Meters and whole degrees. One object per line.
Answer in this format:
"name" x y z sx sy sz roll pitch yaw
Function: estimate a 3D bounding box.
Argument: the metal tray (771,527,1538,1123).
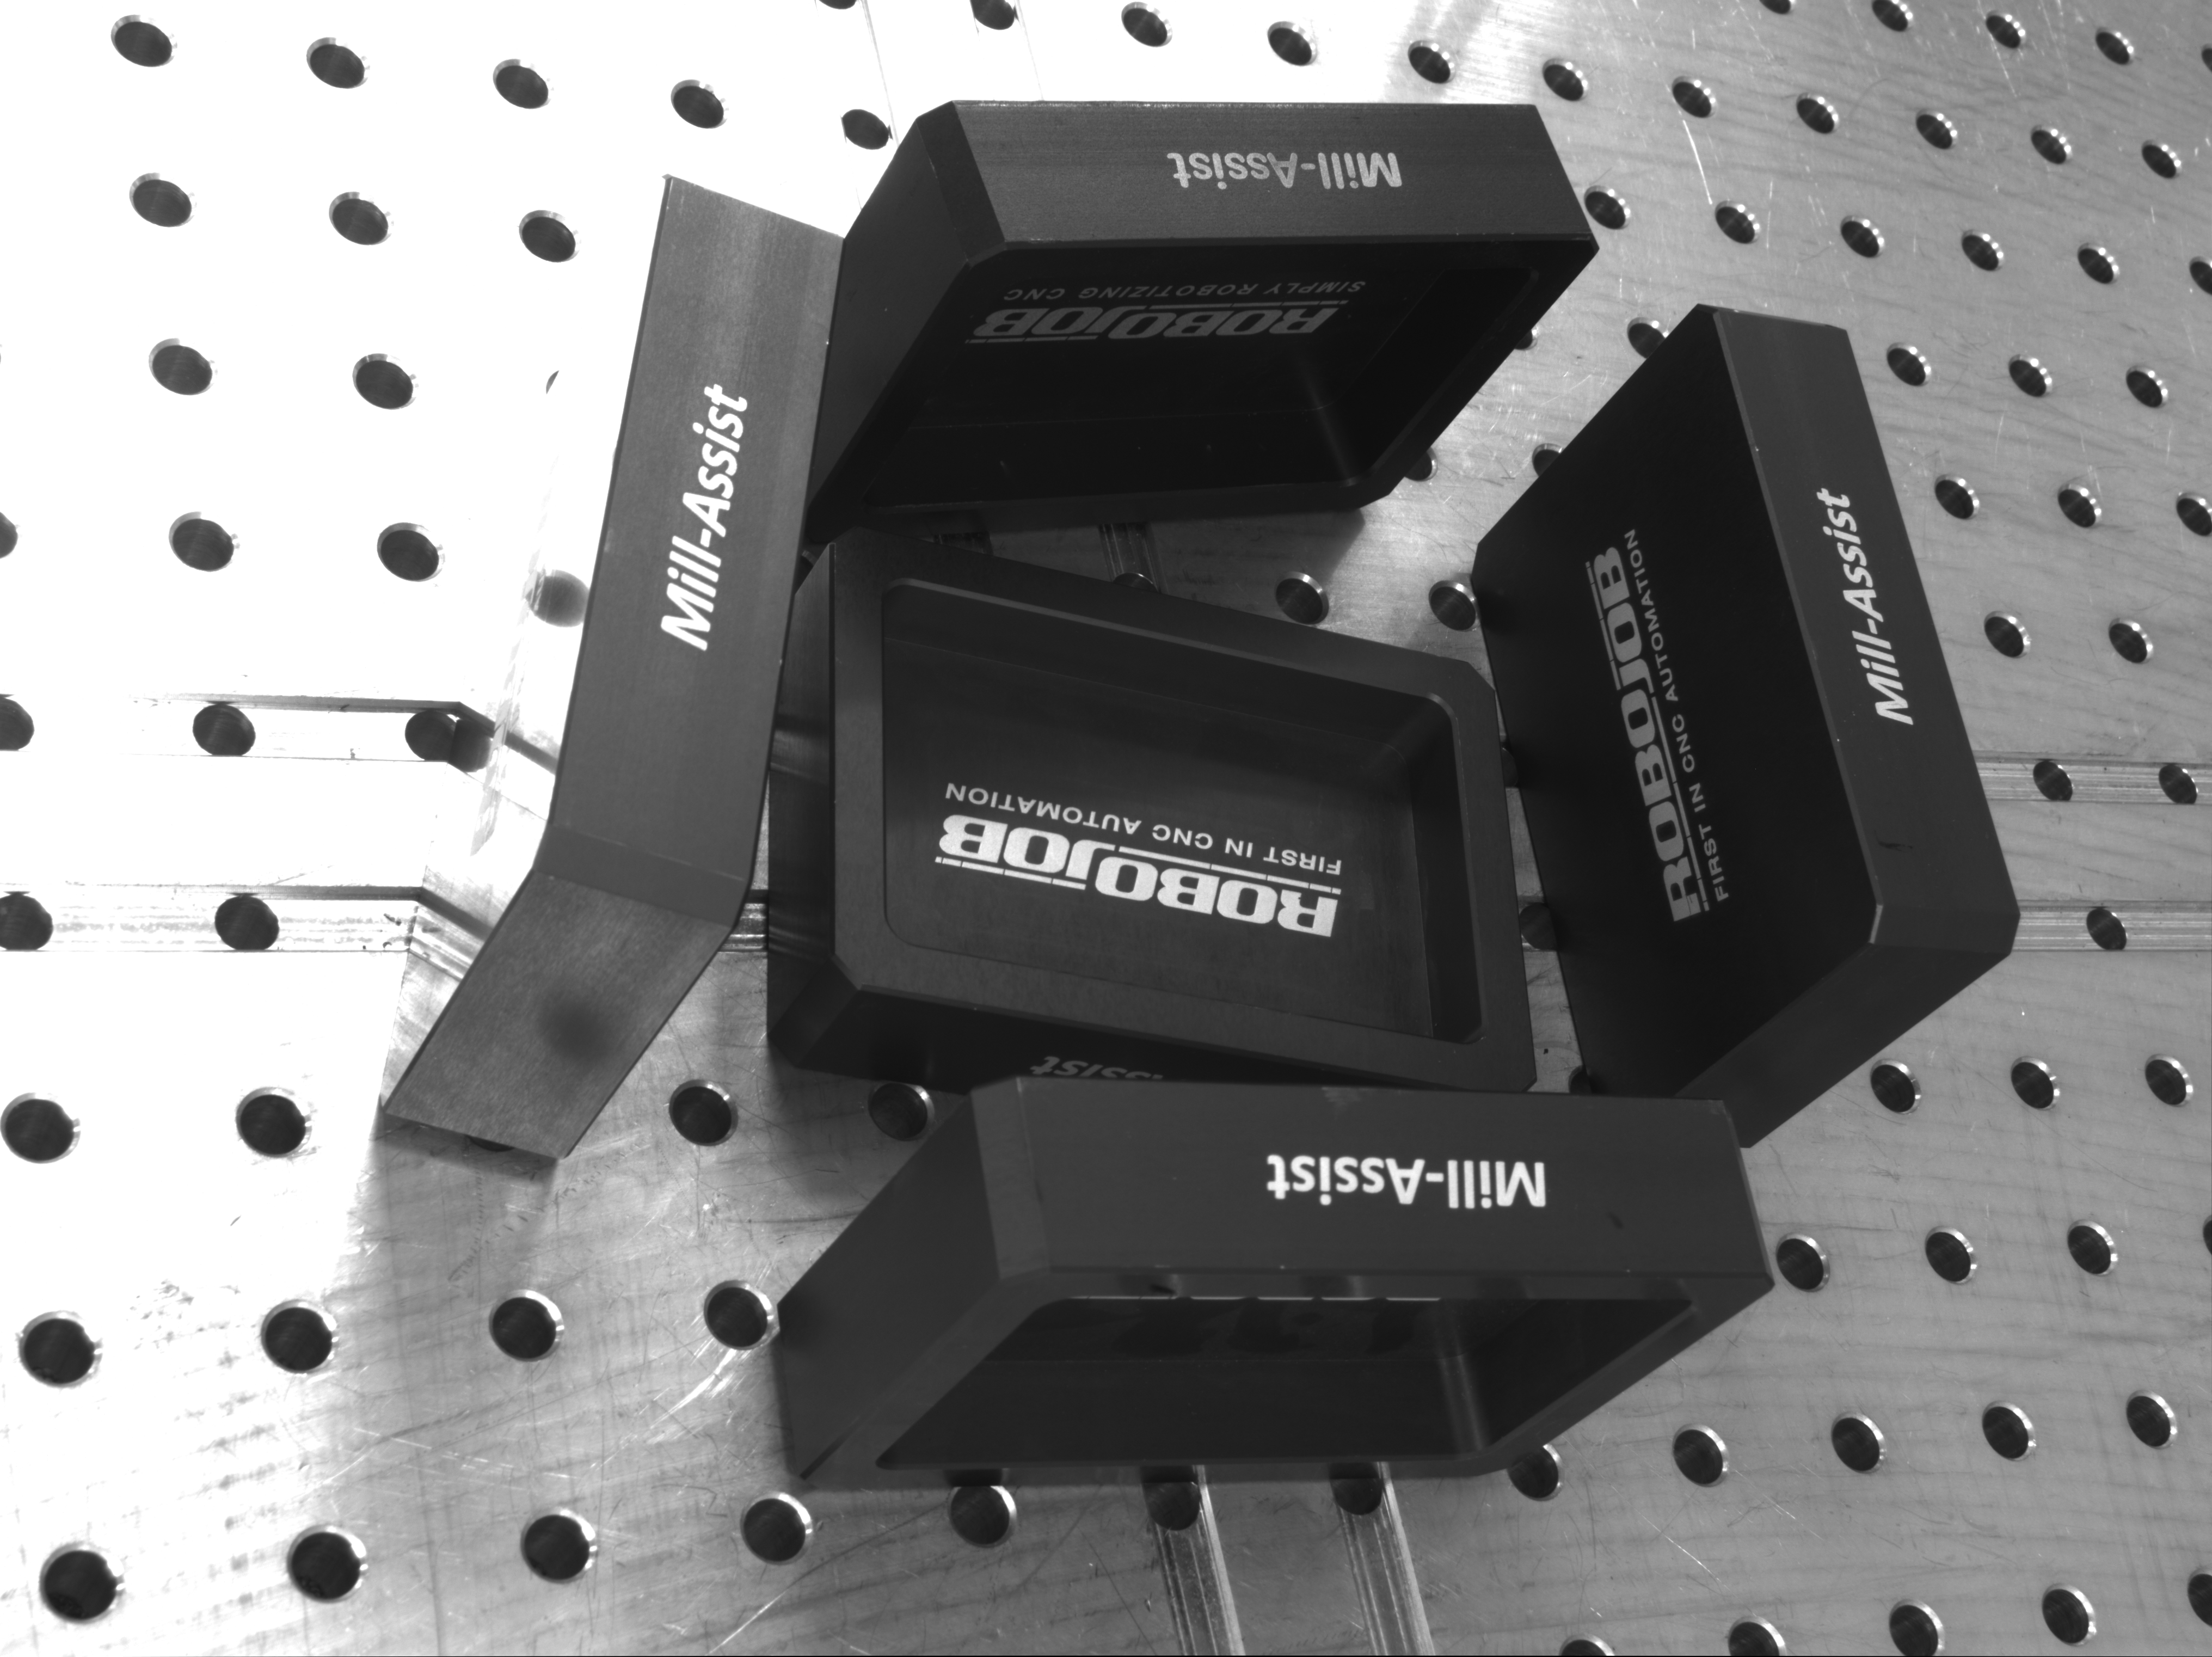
"metal tray" 0.008 0.004 0.640 0.130 0.030 0.090 11 57 -22

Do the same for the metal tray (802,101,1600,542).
"metal tray" 0.012 -0.091 0.662 0.130 0.090 0.030 -6 65 -31

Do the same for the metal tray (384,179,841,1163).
"metal tray" -0.077 -0.025 0.574 0.030 0.090 0.130 17 55 -18

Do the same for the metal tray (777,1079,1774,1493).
"metal tray" 0.025 0.073 0.570 0.130 0.090 0.030 4 60 -26

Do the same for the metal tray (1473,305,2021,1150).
"metal tray" 0.113 -0.018 0.672 0.030 0.090 0.130 5 59 -26
